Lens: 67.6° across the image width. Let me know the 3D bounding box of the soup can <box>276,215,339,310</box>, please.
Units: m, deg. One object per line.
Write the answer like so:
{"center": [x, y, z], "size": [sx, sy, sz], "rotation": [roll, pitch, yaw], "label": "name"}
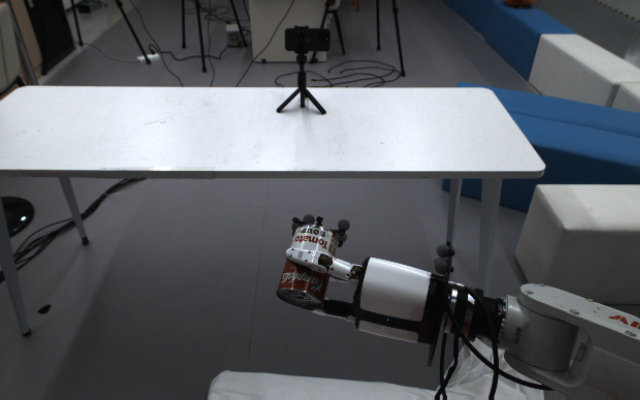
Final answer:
{"center": [-0.014, 0.093, 0.684], "size": [0.067, 0.067, 0.101], "rotation": [9, 61, 10], "label": "soup can"}
